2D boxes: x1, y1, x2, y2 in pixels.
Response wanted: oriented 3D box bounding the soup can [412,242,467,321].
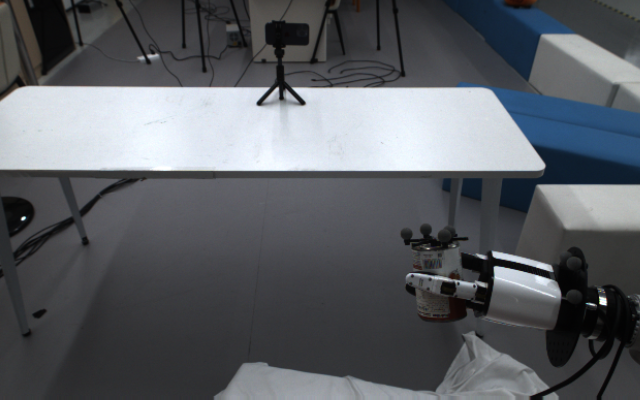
[{"bbox_3d":[0.168,0.110,0.672,0.067,0.101,0.067,-6,3,0],"label":"soup can"}]
